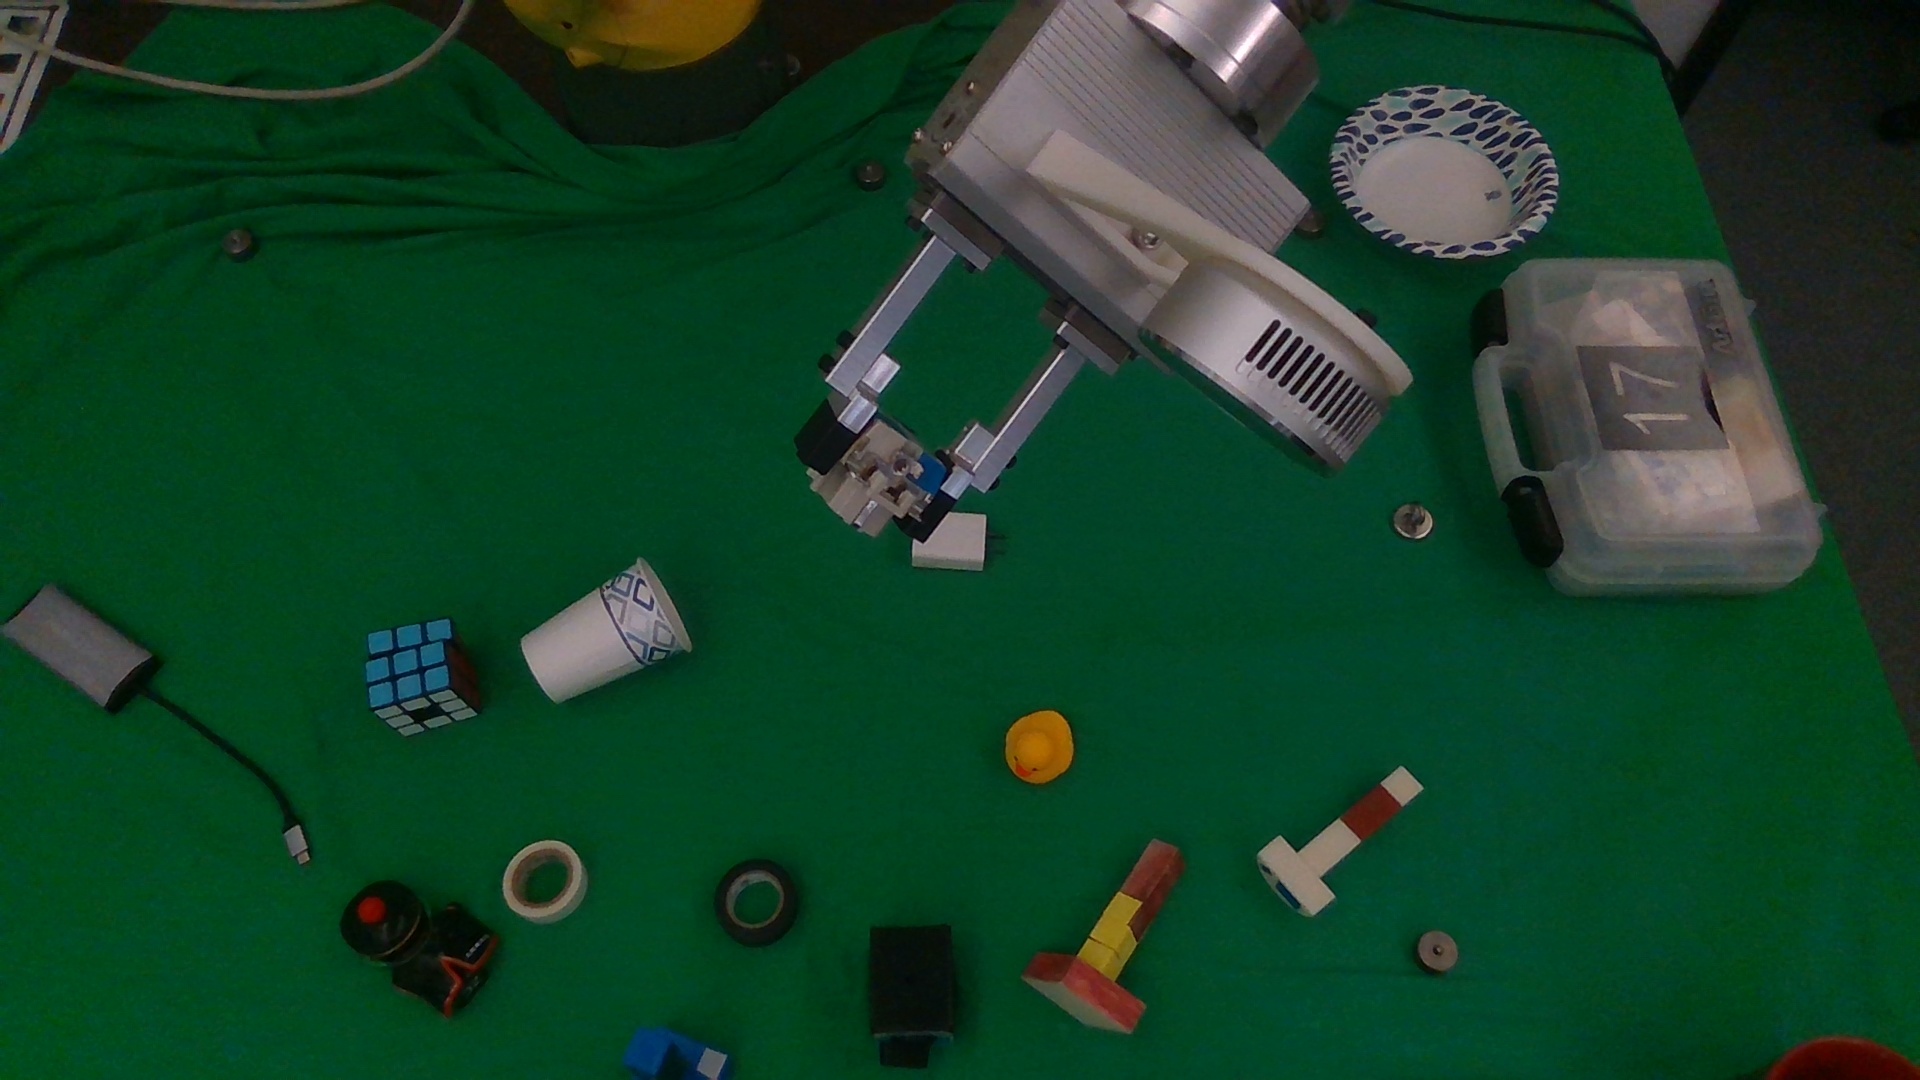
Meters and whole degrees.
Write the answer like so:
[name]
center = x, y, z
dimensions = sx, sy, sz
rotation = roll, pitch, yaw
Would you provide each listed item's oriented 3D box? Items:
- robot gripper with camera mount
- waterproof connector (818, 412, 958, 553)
[robot gripper with camera mount]
center = 0.047, -0.037, 0.414
dimensions = 0.159, 0.118, 0.194
rotation = -50, 35, 8
[waterproof connector]
center = -0.029, -0.021, 0.493
dimensions = 0.037, 0.035, 0.065
rotation = -56, 30, 10
